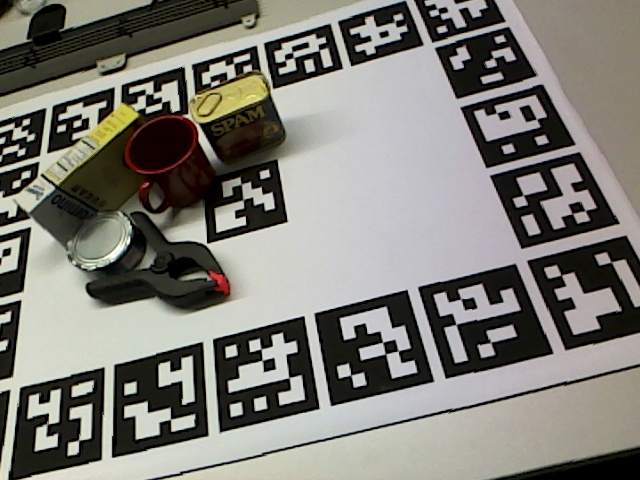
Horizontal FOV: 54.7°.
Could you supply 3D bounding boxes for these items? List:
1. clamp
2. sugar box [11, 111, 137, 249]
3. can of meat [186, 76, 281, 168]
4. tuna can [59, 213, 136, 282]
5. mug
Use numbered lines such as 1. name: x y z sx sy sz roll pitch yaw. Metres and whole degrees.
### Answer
1. clamp: -0.186 0.040 0.724 0.166 0.036 0.122 18 61 19
2. sugar box: -0.288 -0.073 0.786 0.045 0.092 0.176 33 70 30
3. can of meat: -0.107 -0.149 0.792 0.102 0.083 0.058 -21 55 -1
4. tuna can: -0.271 0.011 0.758 0.086 0.033 0.086 -6 60 11
5. mug: -0.197 -0.086 0.767 0.093 0.081 0.117 7 63 18
